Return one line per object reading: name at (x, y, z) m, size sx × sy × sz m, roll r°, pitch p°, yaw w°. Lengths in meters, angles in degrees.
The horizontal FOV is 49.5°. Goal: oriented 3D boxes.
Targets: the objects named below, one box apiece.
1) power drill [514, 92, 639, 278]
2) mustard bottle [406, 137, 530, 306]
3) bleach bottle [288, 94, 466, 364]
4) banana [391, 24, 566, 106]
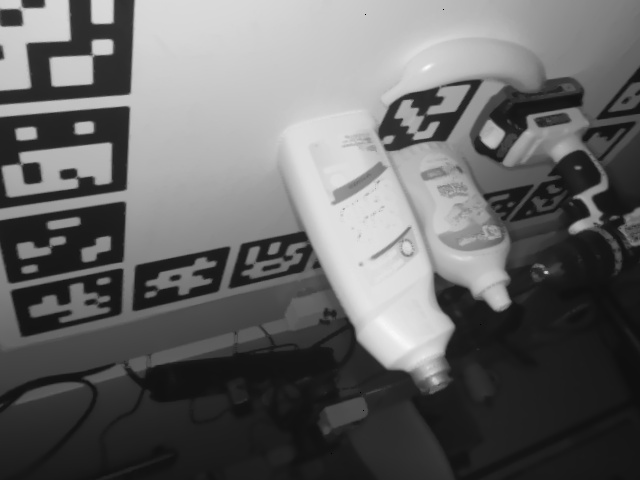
power drill at (0.268, -0.056, 0.687) m, size 0.187 × 0.187 × 0.056 m, roll -10°, pitch 154°, yaw -20°
mustard bottle at (0.155, -0.018, 0.699) m, size 0.097 × 0.191 × 0.057 m, roll -9°, pitch 147°, yaw -24°
bleach bottle at (0.059, -0.013, 0.590) m, size 0.104 × 0.251 × 0.067 m, roll -15°, pitch 148°, yaw -17°
banana at (0.156, -0.160, 0.626) m, size 0.200 × 0.039 × 0.073 m, roll -10°, pitch 143°, yaw -28°
